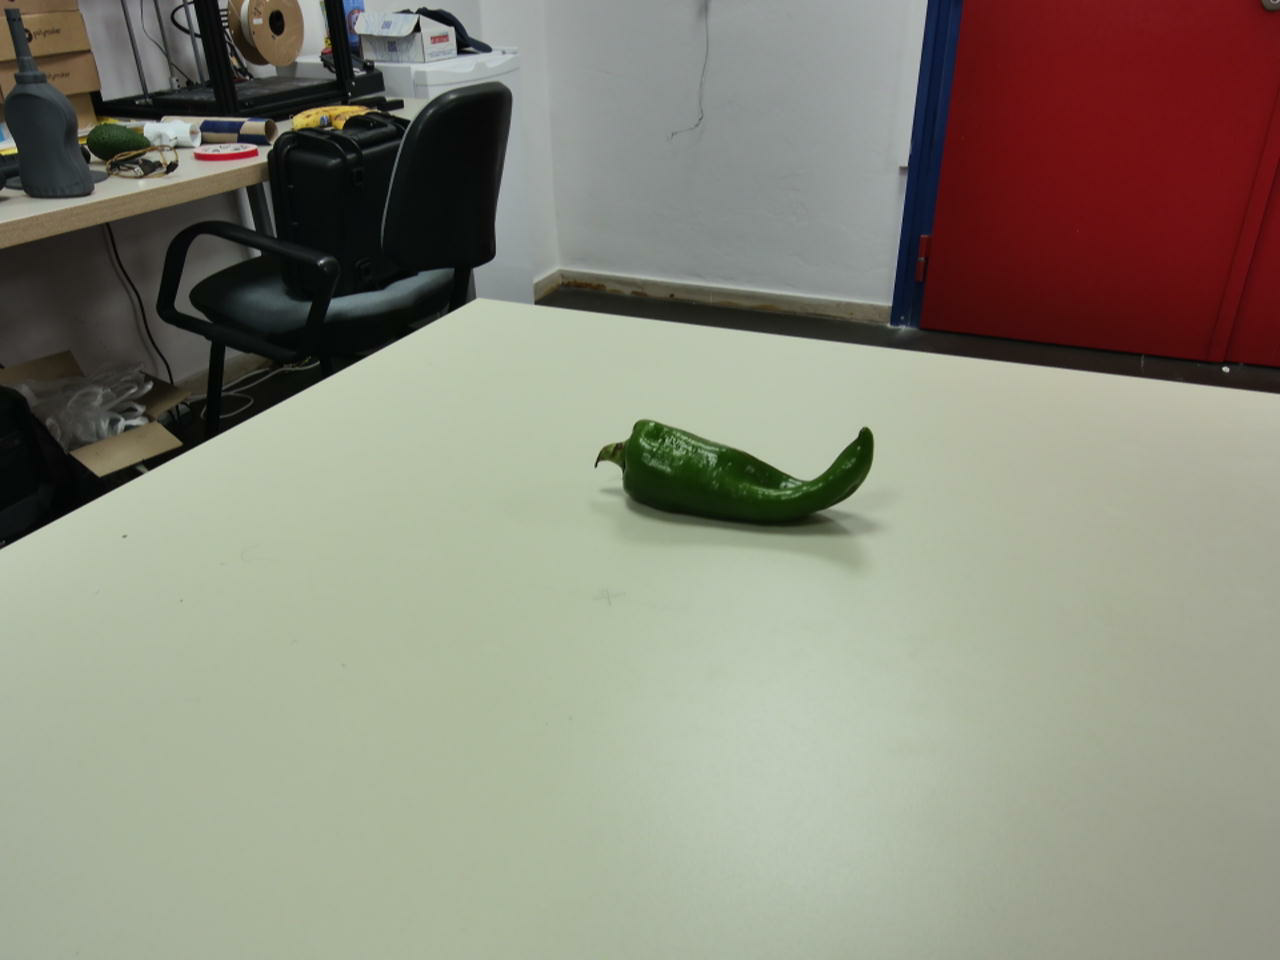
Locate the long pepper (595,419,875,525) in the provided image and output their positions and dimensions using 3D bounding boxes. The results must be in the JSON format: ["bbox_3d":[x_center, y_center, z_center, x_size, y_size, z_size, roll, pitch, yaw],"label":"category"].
[{"bbox_3d":[0.053,-0.010,0.617,0.175,0.065,0.058,10,28,20],"label":"long pepper"}]
